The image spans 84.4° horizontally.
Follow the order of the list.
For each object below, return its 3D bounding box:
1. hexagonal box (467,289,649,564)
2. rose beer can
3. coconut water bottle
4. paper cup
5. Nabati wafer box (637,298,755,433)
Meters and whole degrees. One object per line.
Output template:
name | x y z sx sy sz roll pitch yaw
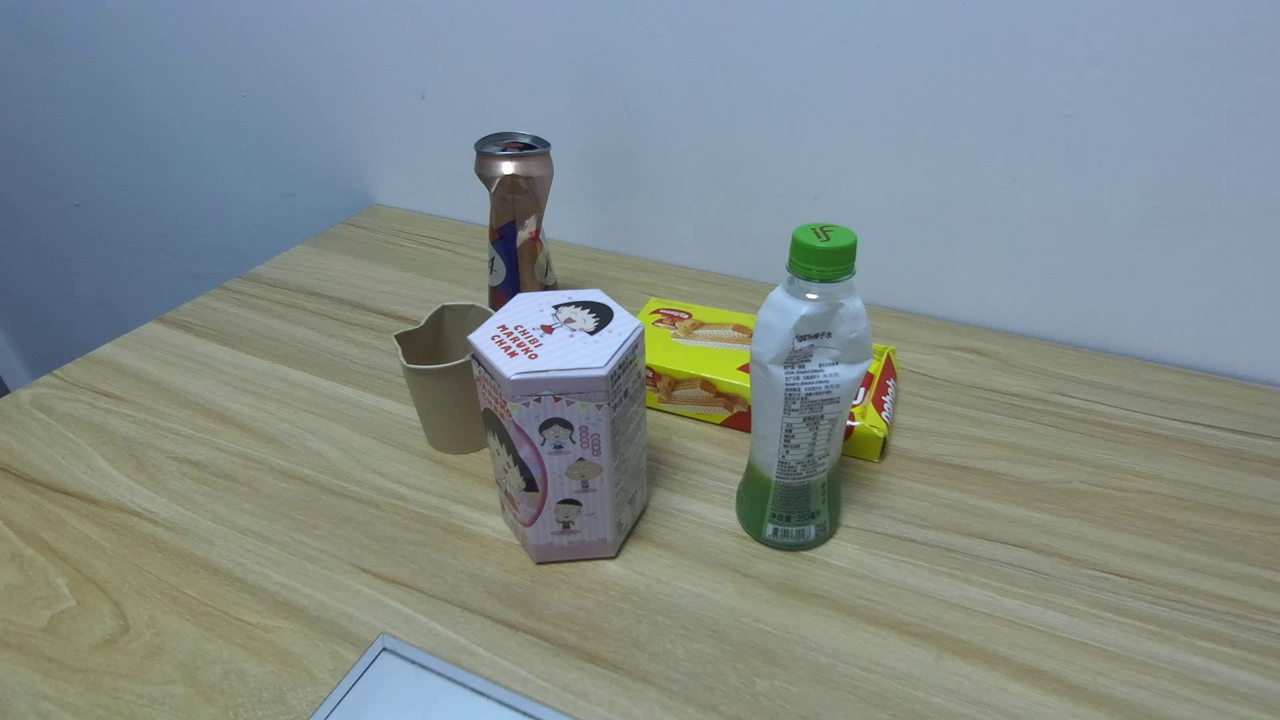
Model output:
hexagonal box | -0.041 0.039 0.396 0.084 0.136 0.091 -22 40 -28
rose beer can | -0.091 -0.087 0.553 0.065 0.167 0.075 2 32 -1
coconut water bottle | 0.089 0.018 0.379 0.067 0.187 0.067 -1 34 1
paper cup | -0.125 0.016 0.488 0.069 0.081 0.073 -16 38 -24
Nabati wafer box | 0.085 0.008 0.524 0.202 0.042 0.096 13 35 18
